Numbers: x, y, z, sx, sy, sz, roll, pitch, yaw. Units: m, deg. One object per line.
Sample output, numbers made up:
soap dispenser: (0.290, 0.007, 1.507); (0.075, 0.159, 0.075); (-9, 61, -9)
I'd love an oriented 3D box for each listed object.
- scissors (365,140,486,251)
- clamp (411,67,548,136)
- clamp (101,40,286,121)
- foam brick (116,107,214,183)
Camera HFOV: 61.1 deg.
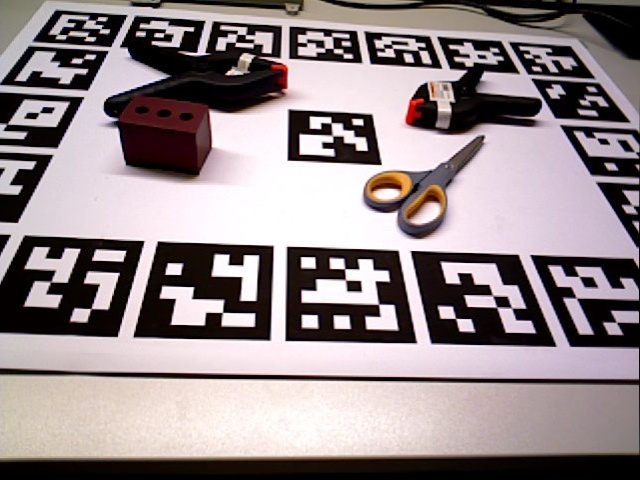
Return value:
scissors: (0.125, -0.063, 0.561); (0.087, 0.016, 0.198); (37, 52, 16)
clamp: (0.181, -0.166, 0.661); (0.162, 0.037, 0.121); (-20, 59, -22)
clamp: (-0.142, -0.189, 0.642); (0.201, 0.037, 0.163); (0, 44, -8)
foam brick: (-0.153, -0.095, 0.545); (0.078, 0.052, 0.052); (5, 48, 4)
